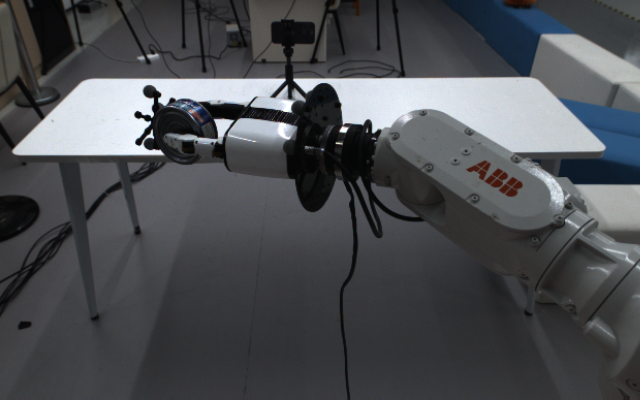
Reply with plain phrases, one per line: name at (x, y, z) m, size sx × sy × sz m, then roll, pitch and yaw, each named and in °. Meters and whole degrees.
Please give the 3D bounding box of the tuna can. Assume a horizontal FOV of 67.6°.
tuna can at (-0.183, -0.094, 0.660) m, size 0.085 × 0.085 × 0.034 m, roll 14°, pitch 32°, yaw 16°
